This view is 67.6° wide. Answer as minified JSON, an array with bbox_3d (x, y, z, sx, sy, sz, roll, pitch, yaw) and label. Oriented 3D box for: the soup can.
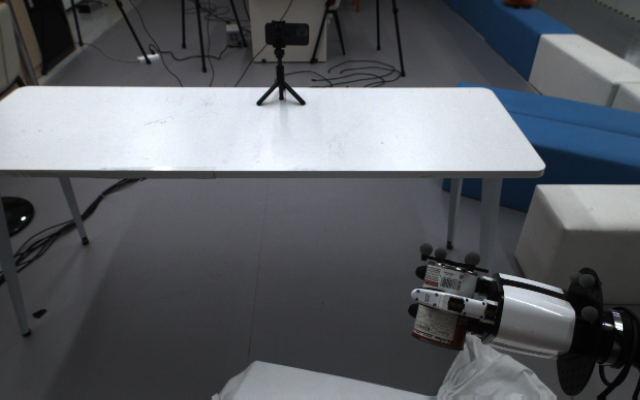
[{"bbox_3d":[0.168,0.136,0.639,0.067,0.101,0.067,13,-6,1],"label":"soup can"}]
